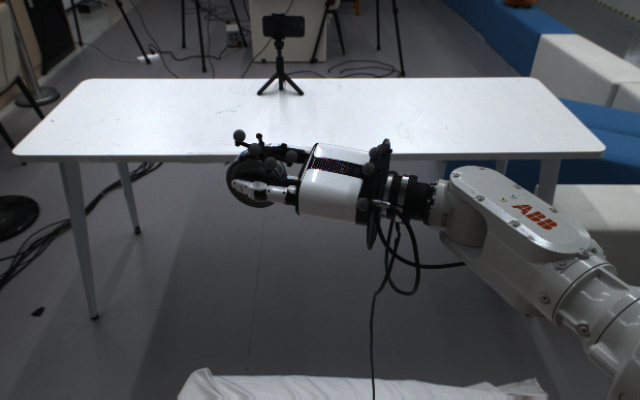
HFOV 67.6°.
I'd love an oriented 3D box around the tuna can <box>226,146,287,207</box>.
[{"bbox_3d":[-0.093,-0.032,0.721,0.085,0.085,0.034,9,35,10],"label":"tuna can"}]
